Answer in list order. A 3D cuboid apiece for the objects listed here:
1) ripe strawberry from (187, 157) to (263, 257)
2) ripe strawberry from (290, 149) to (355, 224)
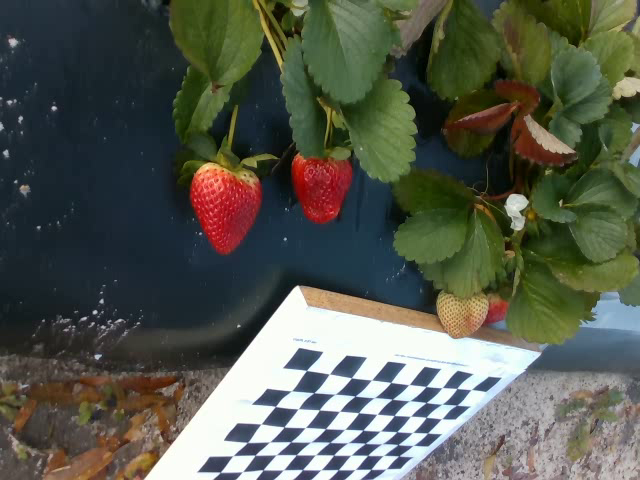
[{"bbox_3d":[-0.057,-0.018,0.364,0.050,0.061,0.045,8,0,-27],"label":"ripe strawberry"},{"bbox_3d":[0.003,-0.034,0.388,0.042,0.053,0.034,4,6,-24],"label":"ripe strawberry"}]
